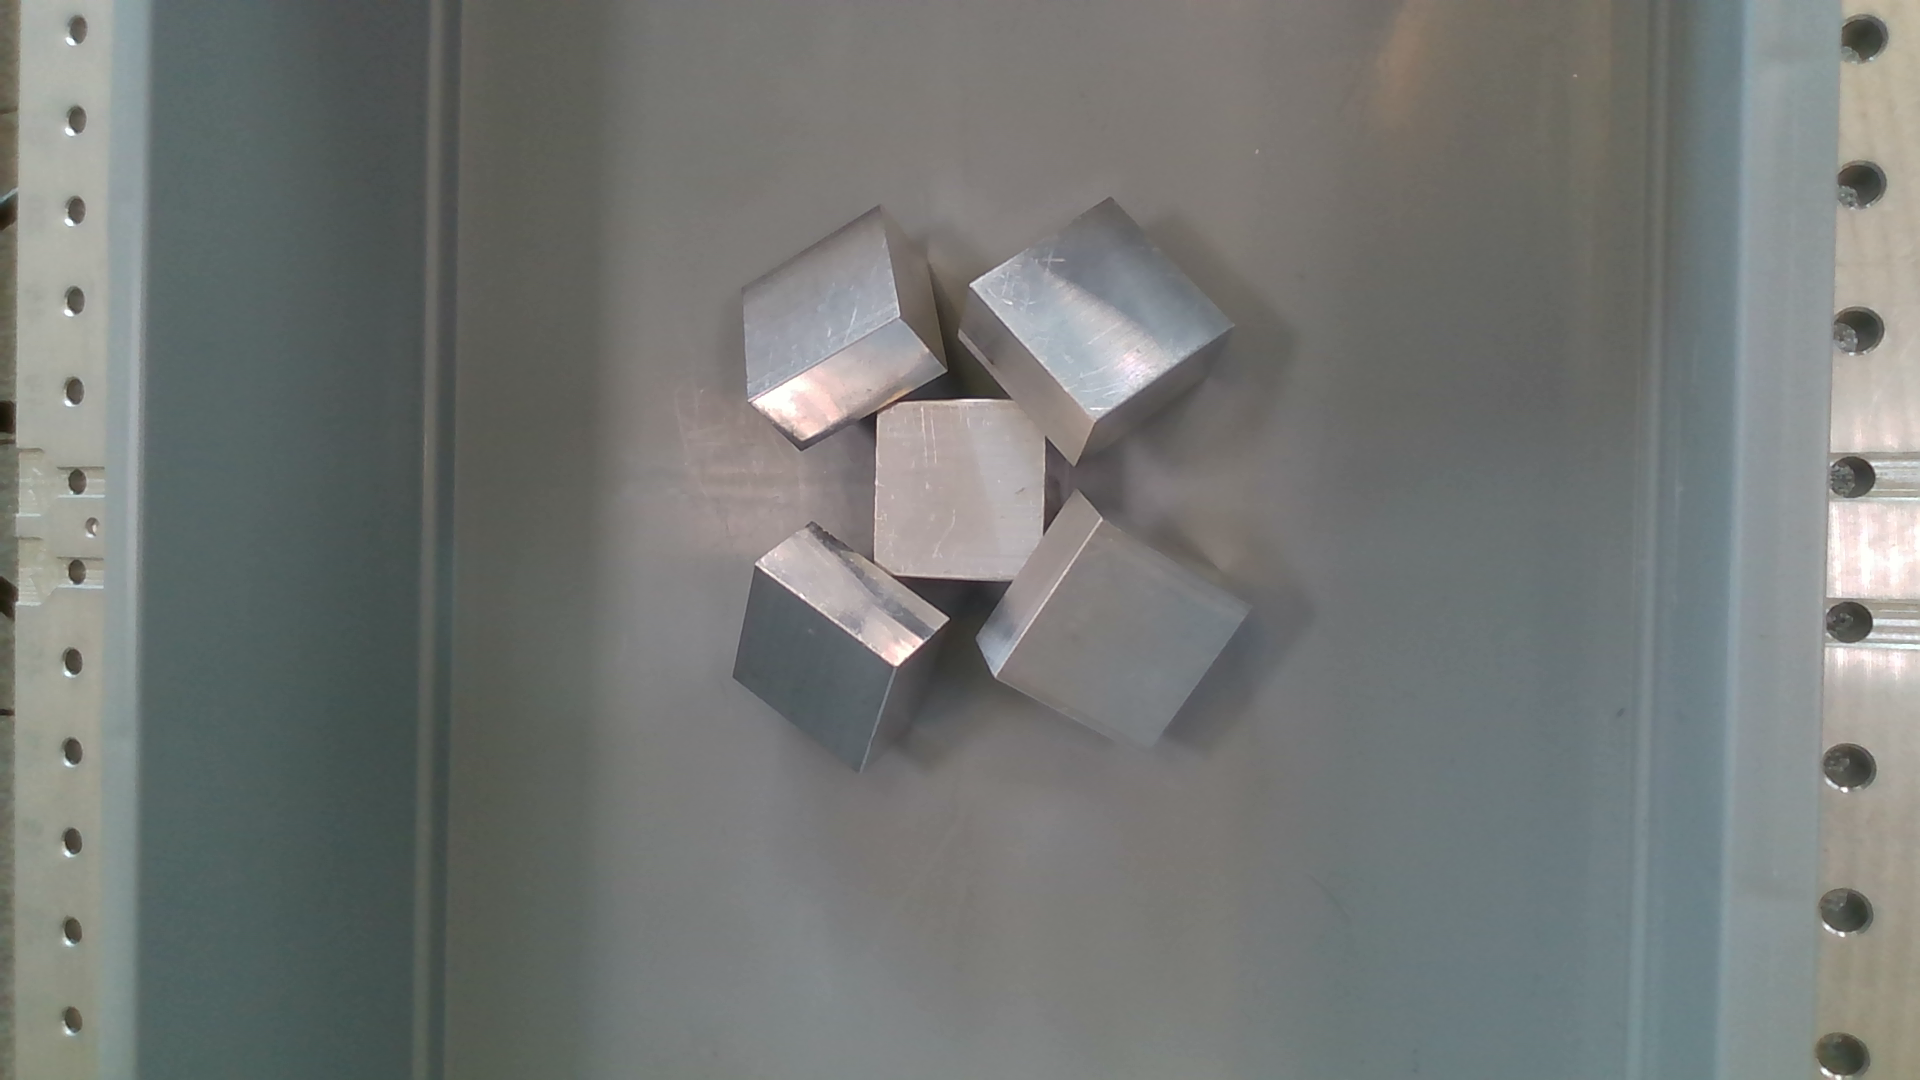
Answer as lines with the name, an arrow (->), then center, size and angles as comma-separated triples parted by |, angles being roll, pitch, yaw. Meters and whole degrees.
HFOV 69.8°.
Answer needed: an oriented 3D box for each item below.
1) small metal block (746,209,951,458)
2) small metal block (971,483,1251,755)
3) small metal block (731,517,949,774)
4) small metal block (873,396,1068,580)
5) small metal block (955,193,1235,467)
small metal block -> -0.033, -0.059, 0.392 | 0.050, 0.025, 0.050 | -27, 43, 18
small metal block -> 0.039, 0.021, 0.365 | 0.050, 0.025, 0.050 | 29, 103, -20
small metal block -> -0.036, 0.030, 0.394 | 0.050, 0.025, 0.050 | 35, 136, 16
small metal block -> 0.004, -0.014, 0.390 | 0.050, 0.025, 0.050 | 2, 91, 20
small metal block -> 0.035, -0.056, 0.366 | 0.050, 0.025, 0.050 | -35, 75, -21
